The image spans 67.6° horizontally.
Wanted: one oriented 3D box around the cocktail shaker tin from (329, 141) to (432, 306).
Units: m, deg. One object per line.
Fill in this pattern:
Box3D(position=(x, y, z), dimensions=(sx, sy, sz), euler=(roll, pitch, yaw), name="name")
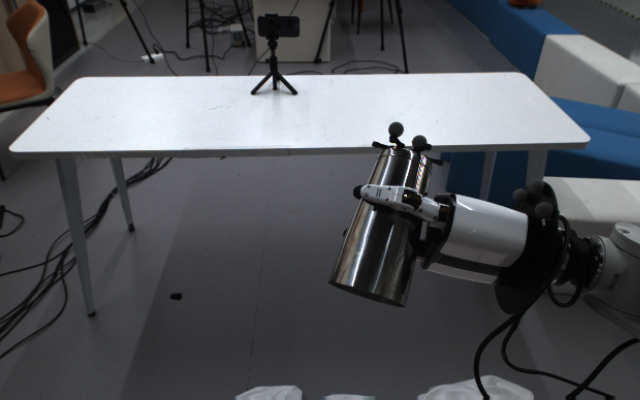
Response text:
Box3D(position=(0.079, 0.029, 0.566), dimensions=(0.093, 0.093, 0.170), euler=(14, 75, 17), name="cocktail shaker tin")
